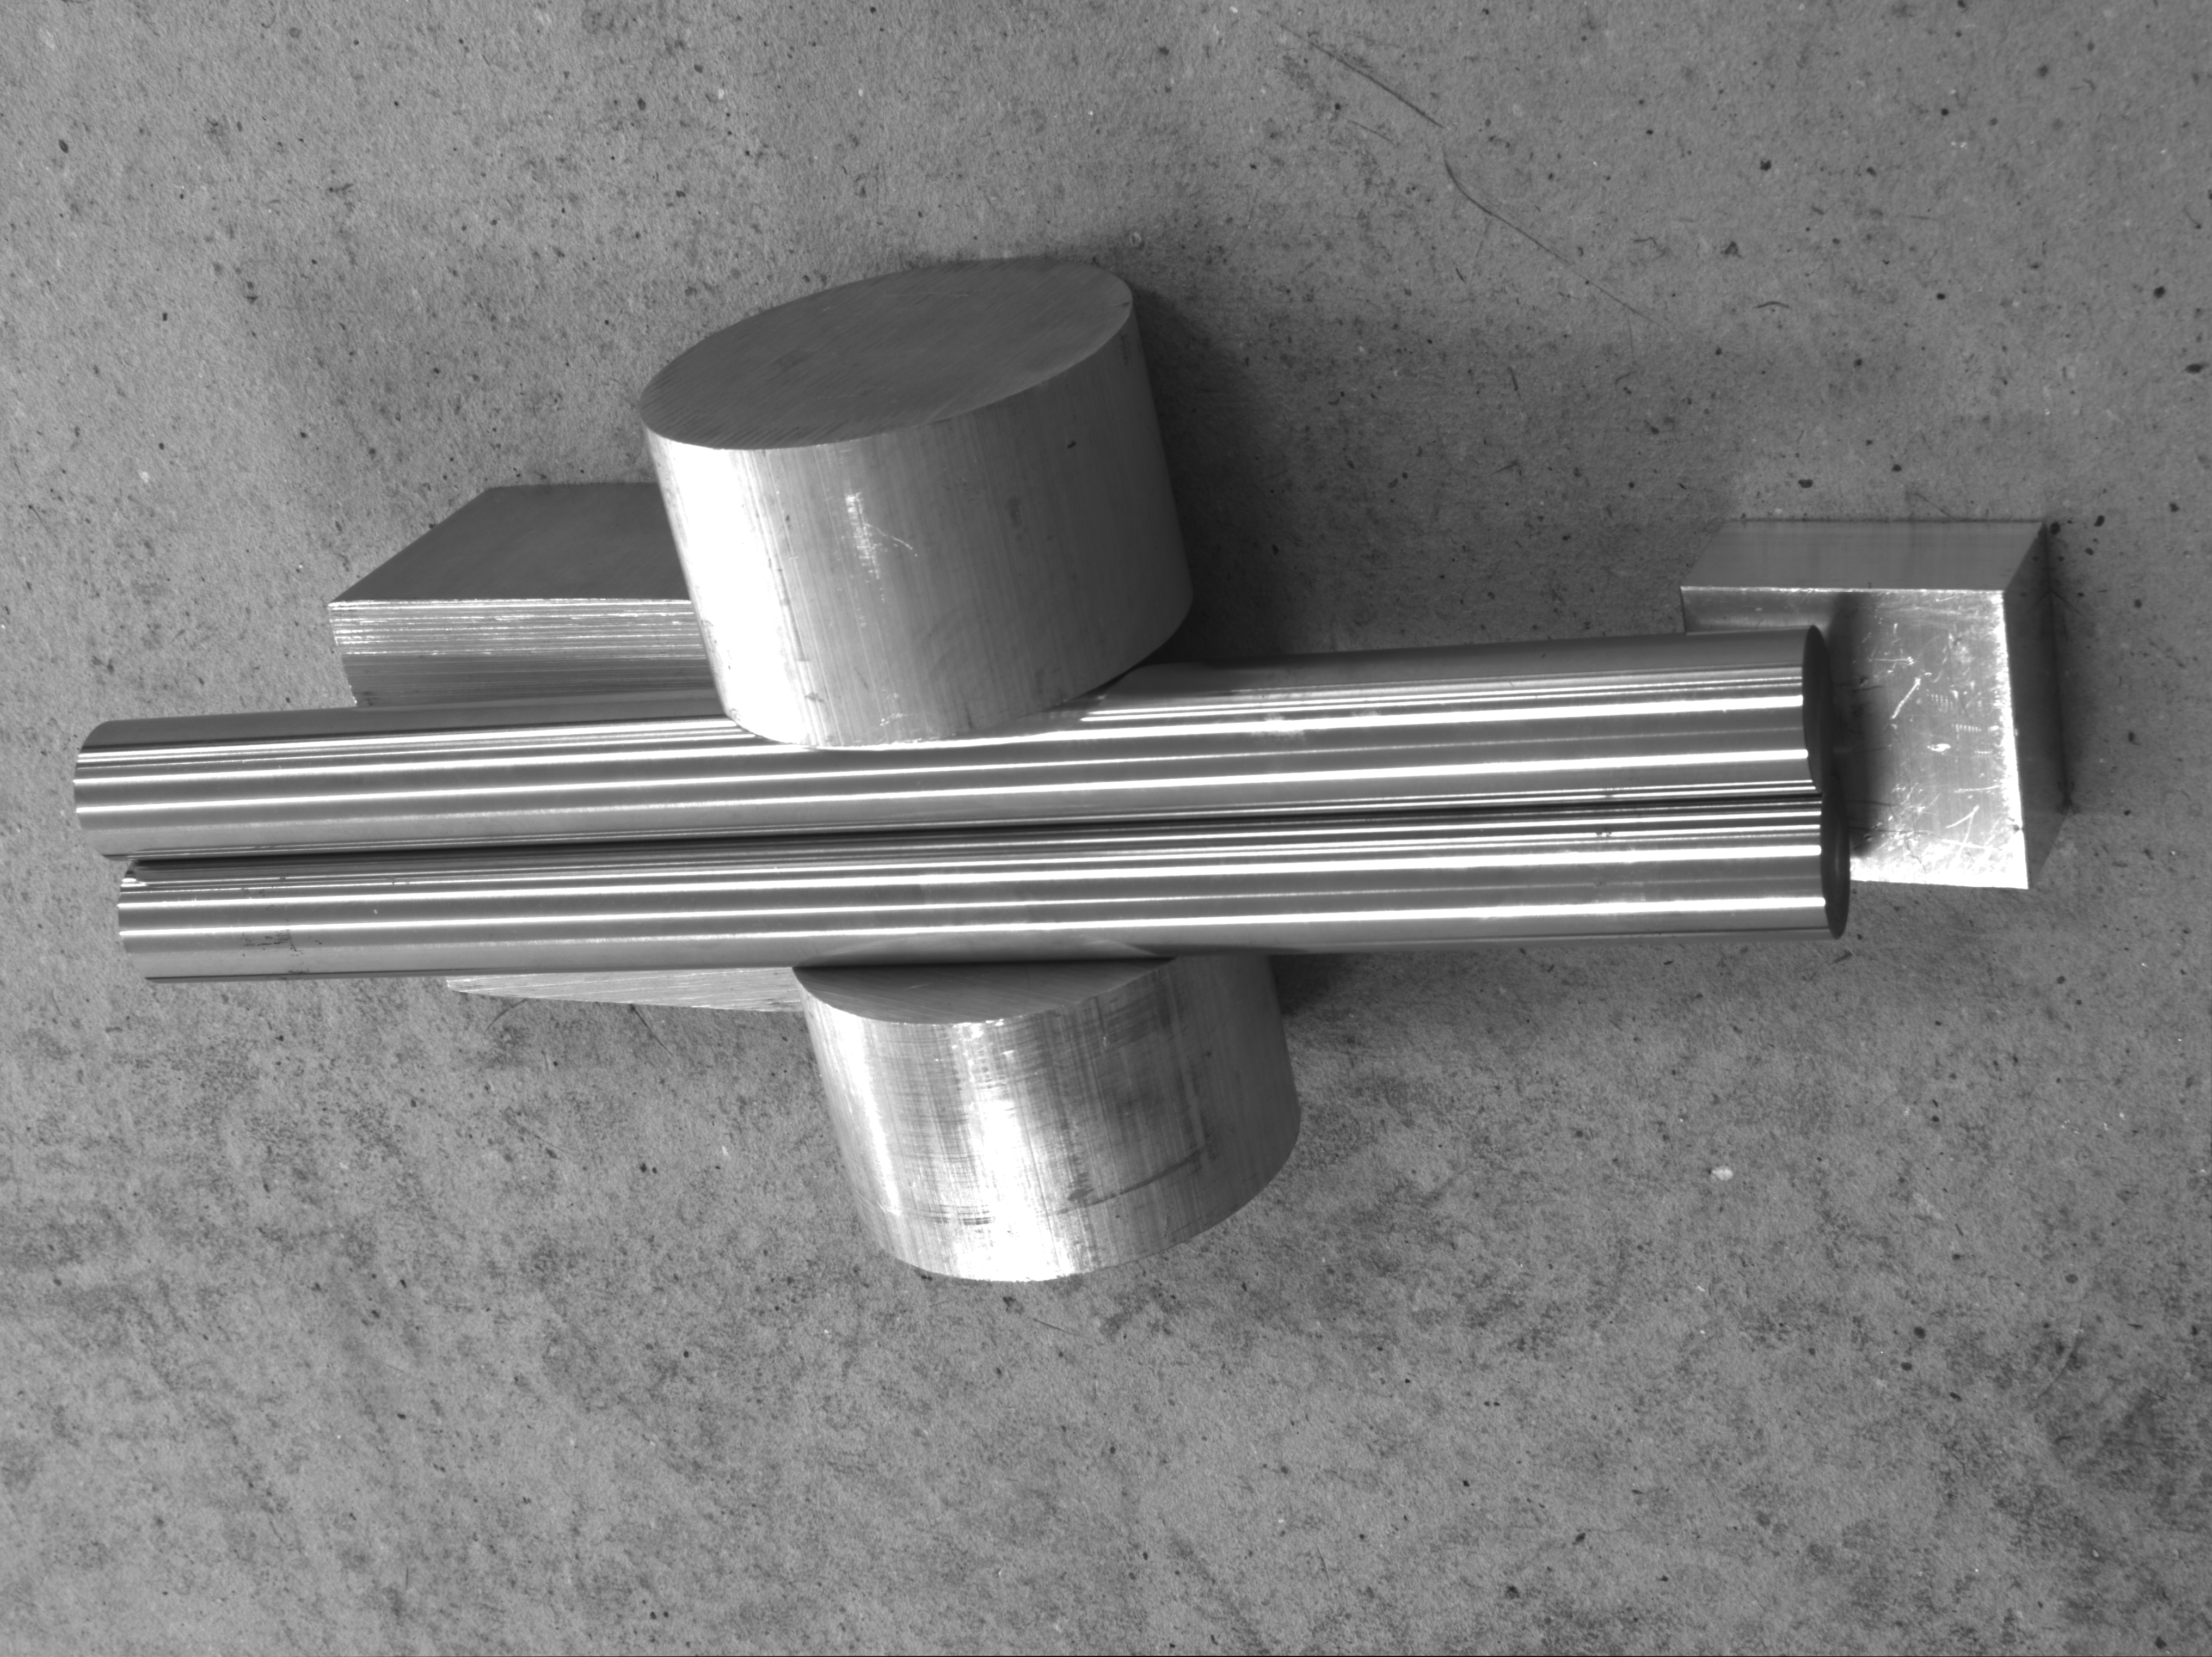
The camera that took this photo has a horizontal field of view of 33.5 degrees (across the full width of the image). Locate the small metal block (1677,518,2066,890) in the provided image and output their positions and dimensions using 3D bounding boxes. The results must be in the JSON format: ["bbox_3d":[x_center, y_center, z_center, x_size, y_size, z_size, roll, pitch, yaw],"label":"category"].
[{"bbox_3d":[0.119,-0.020,0.567,0.050,0.025,0.050,3,120,27],"label":"small metal block"}]

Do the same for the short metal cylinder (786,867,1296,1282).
[{"bbox_3d":[-0.011,0.035,0.635,0.080,0.080,0.050,1,119,28],"label":"short metal cylinder"}]

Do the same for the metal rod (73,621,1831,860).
[{"bbox_3d":[-0.035,-0.013,0.596,0.299,0.025,0.025,-2,117,21],"label":"metal rod"}]

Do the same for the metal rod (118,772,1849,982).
[{"bbox_3d":[-0.030,0.009,0.607,0.299,0.025,0.025,-2,117,21],"label":"metal rod"}]

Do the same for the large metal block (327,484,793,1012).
[{"bbox_3d":[-0.083,-0.015,0.662,0.080,0.050,0.080,2,119,28],"label":"large metal block"}]

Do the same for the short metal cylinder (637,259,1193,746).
[{"bbox_3d":[-0.030,-0.054,0.591,0.080,0.080,0.050,1,119,28],"label":"short metal cylinder"}]
